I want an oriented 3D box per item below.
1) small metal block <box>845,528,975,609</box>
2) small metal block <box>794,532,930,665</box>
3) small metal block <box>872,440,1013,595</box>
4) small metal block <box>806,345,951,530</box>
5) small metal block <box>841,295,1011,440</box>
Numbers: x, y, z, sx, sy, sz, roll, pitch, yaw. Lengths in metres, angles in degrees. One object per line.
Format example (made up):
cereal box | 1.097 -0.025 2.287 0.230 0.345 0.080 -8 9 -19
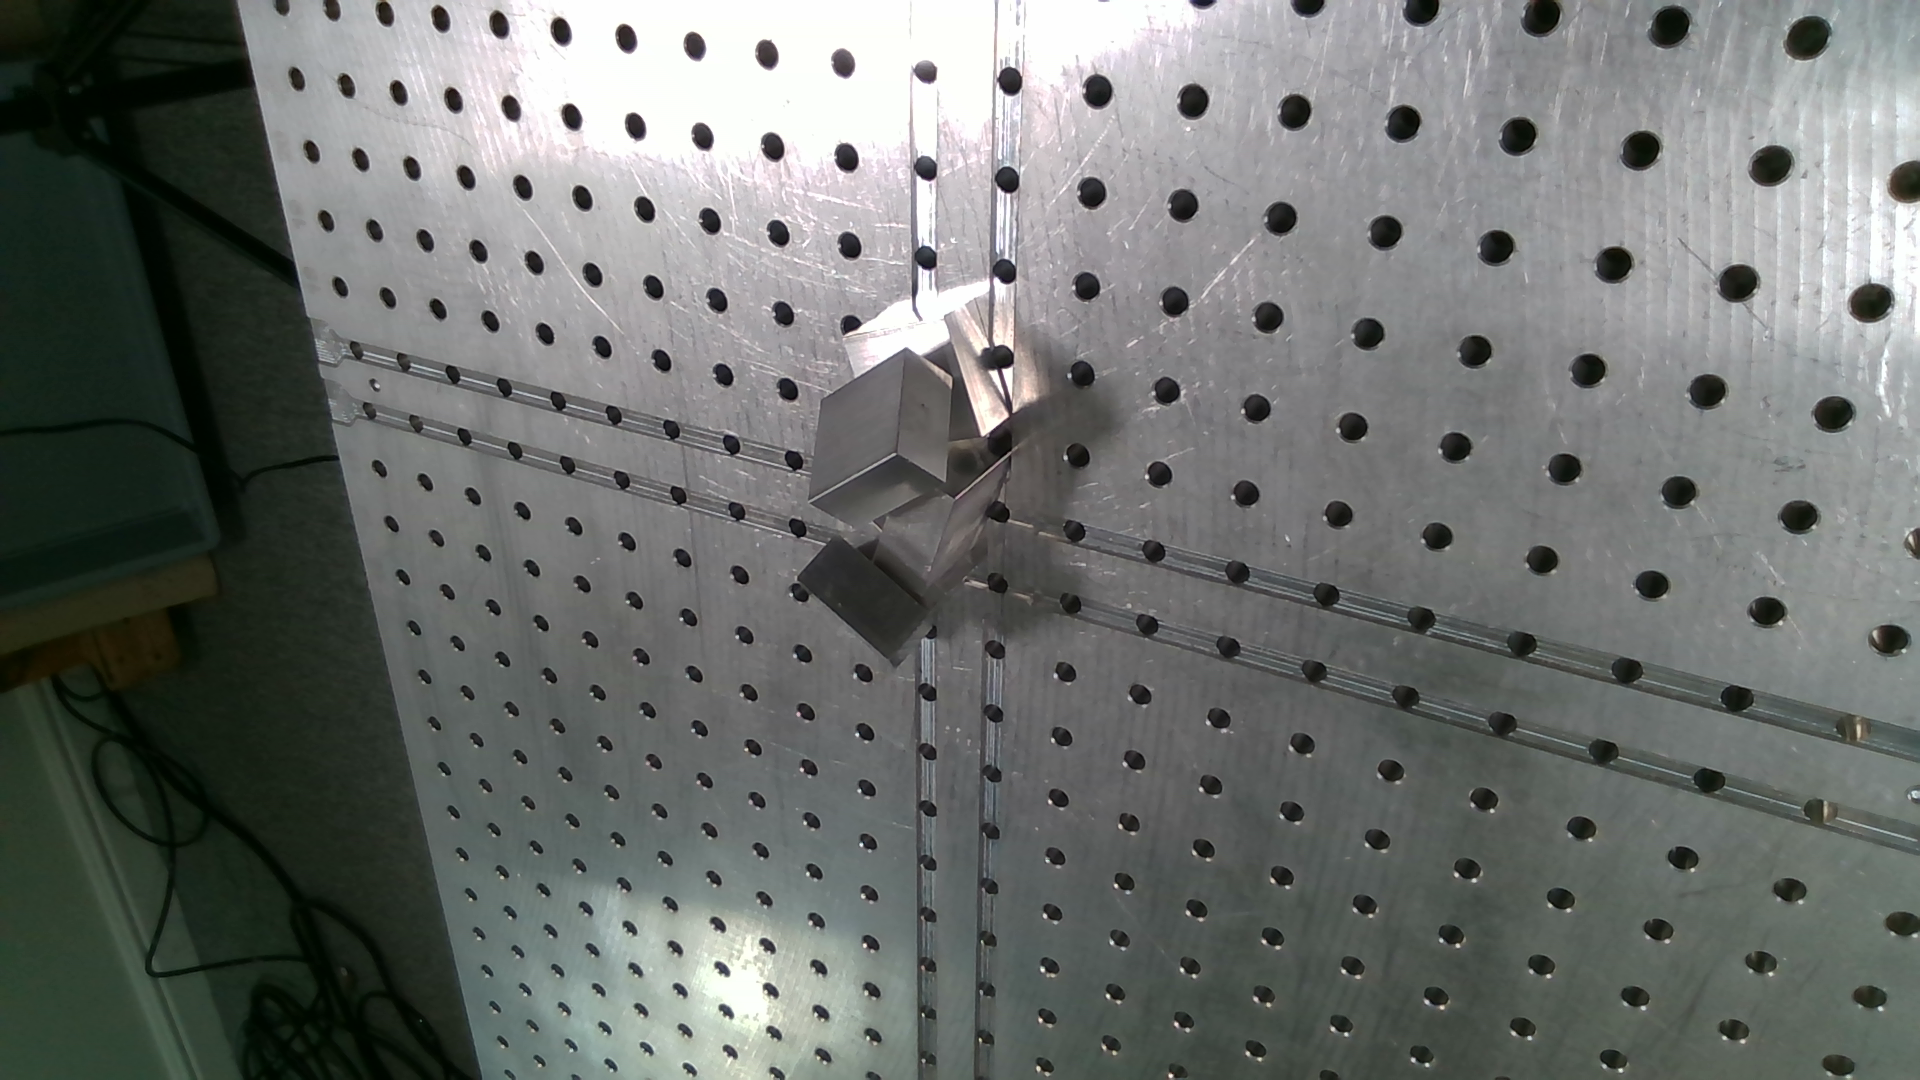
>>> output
small metal block | -0.030 0.015 0.610 0.050 0.025 0.050 44 129 4
small metal block | -0.039 0.026 0.571 0.050 0.025 0.050 40 173 6
small metal block | -0.008 -0.013 0.564 0.025 0.050 0.050 31 127 14
small metal block | -0.031 -0.039 0.529 0.025 0.050 0.050 29 140 -36
small metal block | -0.014 -0.067 0.555 0.050 0.025 0.050 -6 112 34
